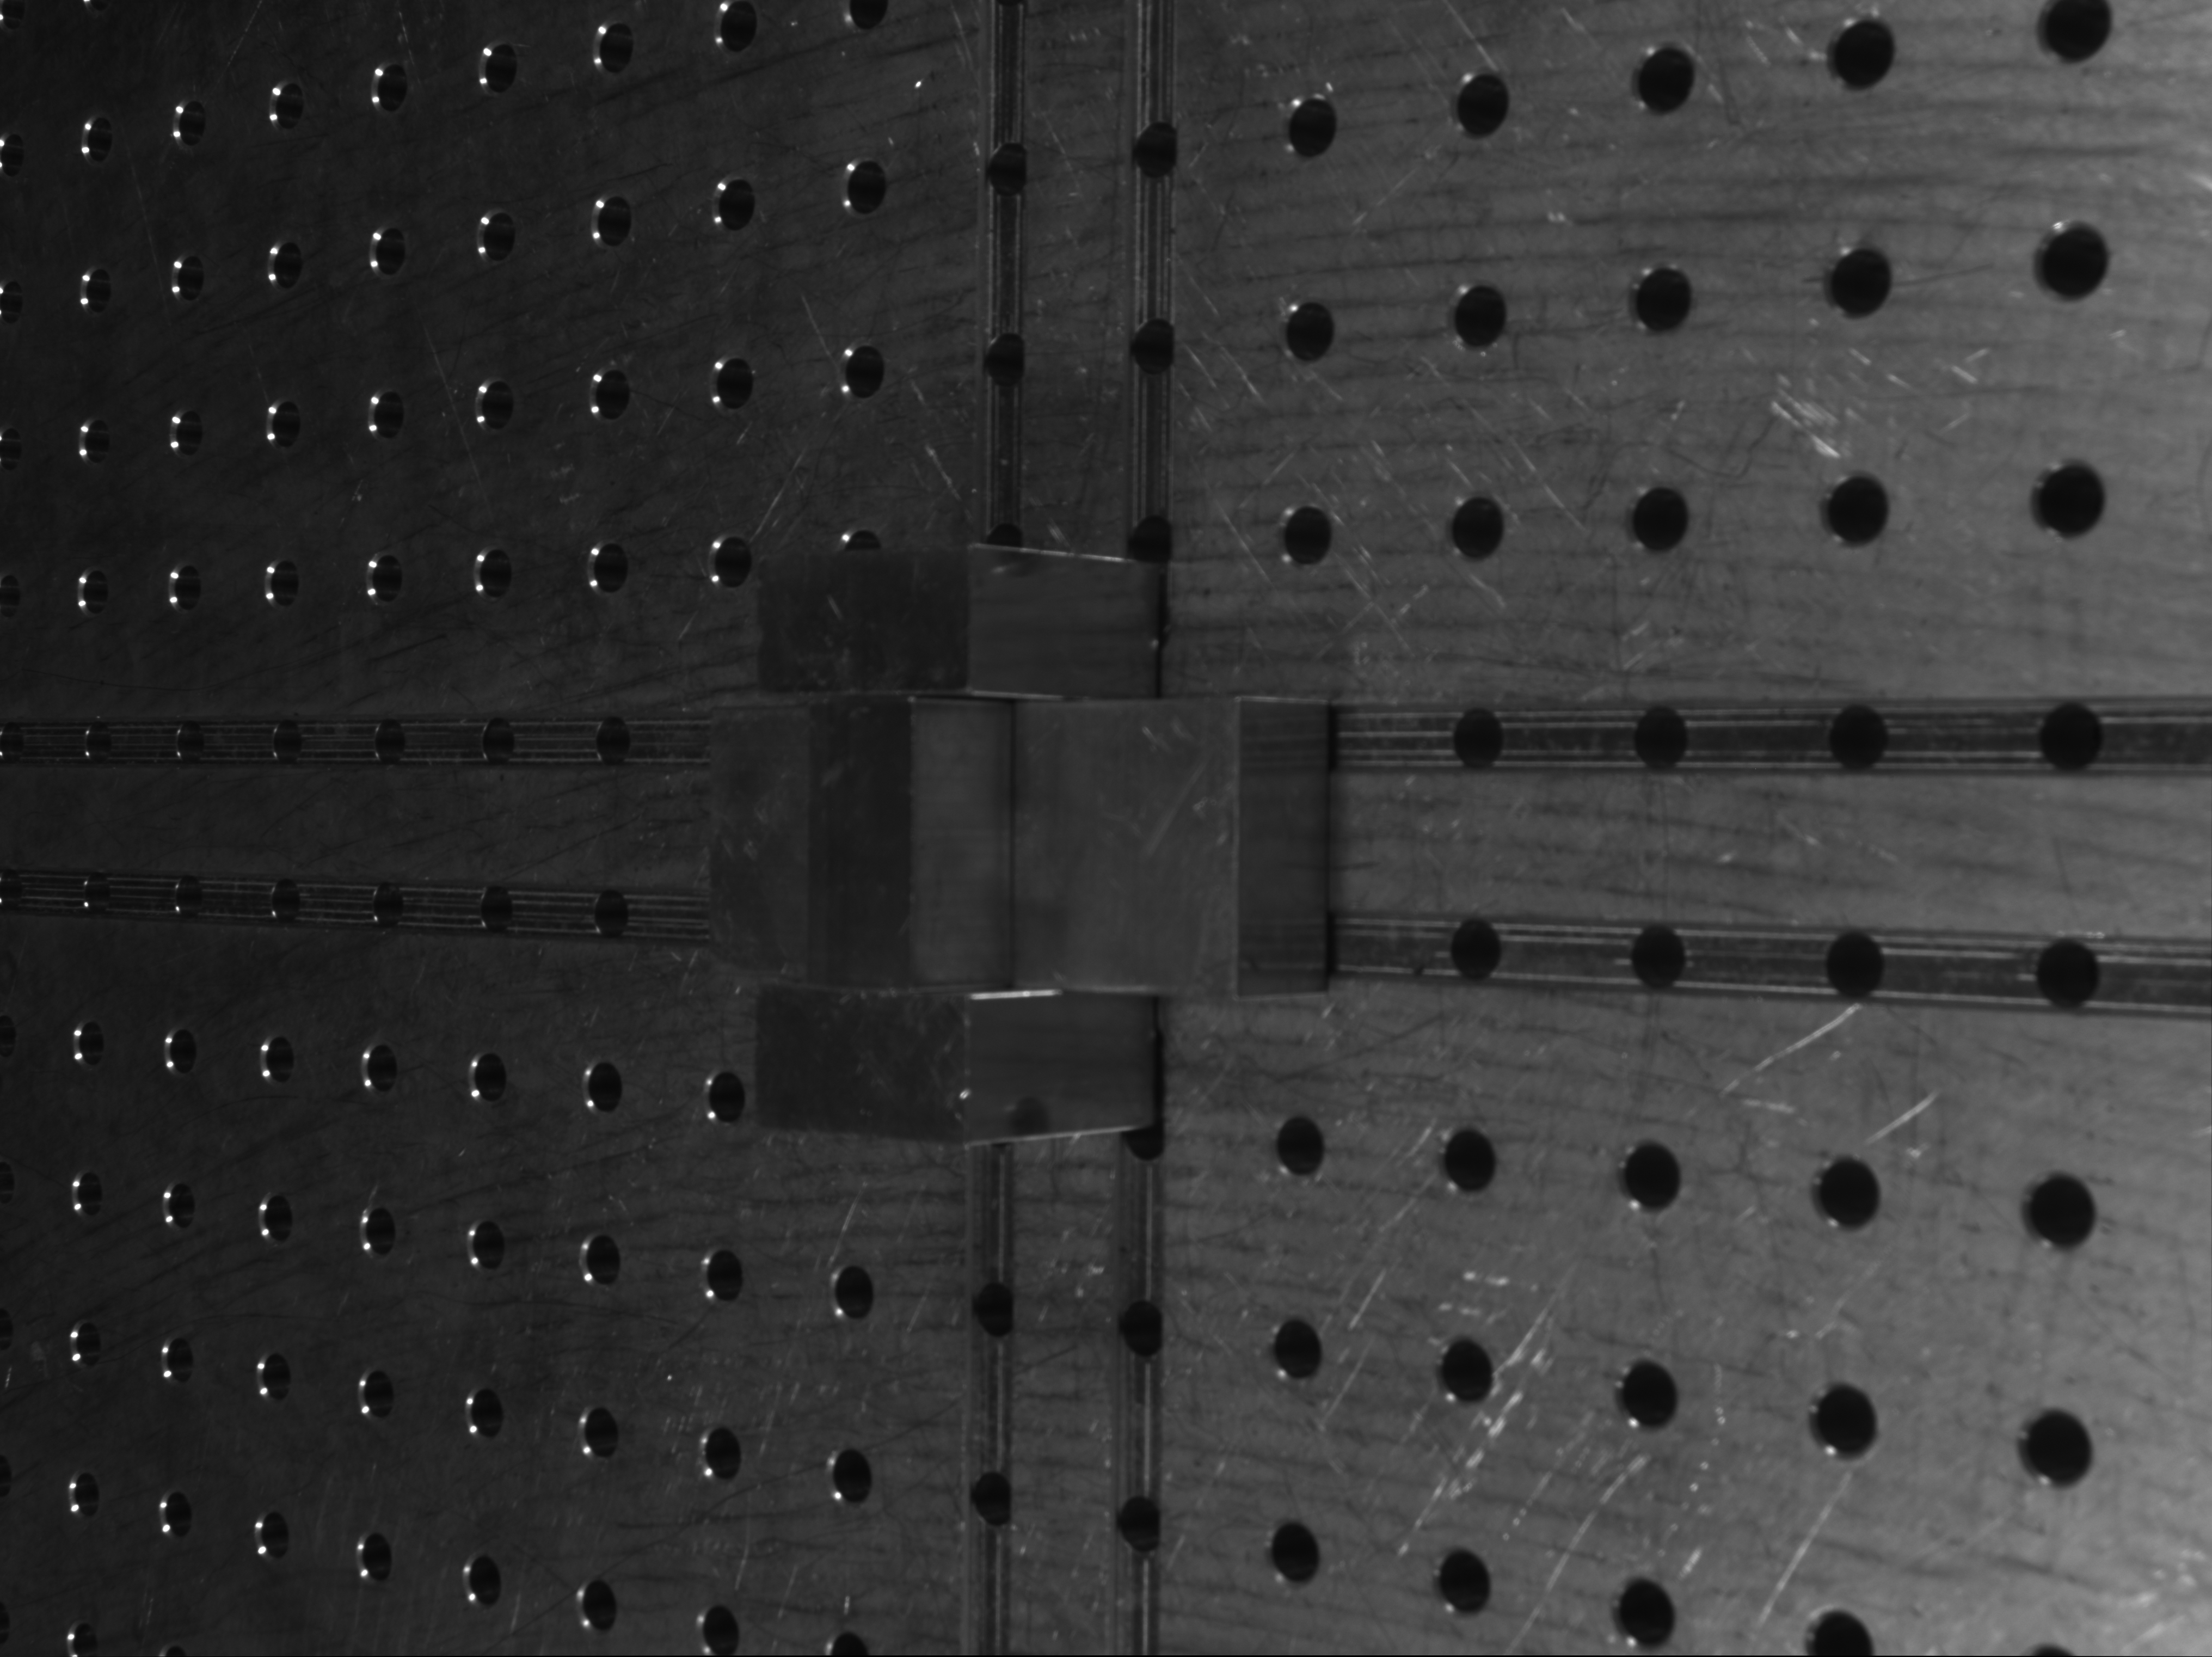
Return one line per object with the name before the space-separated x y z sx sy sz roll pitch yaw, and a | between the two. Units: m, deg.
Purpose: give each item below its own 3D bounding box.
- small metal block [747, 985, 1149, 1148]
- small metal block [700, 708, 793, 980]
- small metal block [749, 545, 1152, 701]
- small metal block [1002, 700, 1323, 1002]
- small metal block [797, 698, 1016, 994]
small metal block | -0.028 0.041 0.645 0.050 0.050 0.025 1 90 39
small metal block | -0.049 0.003 0.679 0.050 0.025 0.050 1 90 39
small metal block | -0.027 -0.035 0.645 0.050 0.050 0.025 1 90 39
small metal block | 0.009 0.003 0.631 0.050 0.025 0.050 1 91 39
small metal block | -0.028 0.003 0.645 0.025 0.050 0.050 1 90 39
